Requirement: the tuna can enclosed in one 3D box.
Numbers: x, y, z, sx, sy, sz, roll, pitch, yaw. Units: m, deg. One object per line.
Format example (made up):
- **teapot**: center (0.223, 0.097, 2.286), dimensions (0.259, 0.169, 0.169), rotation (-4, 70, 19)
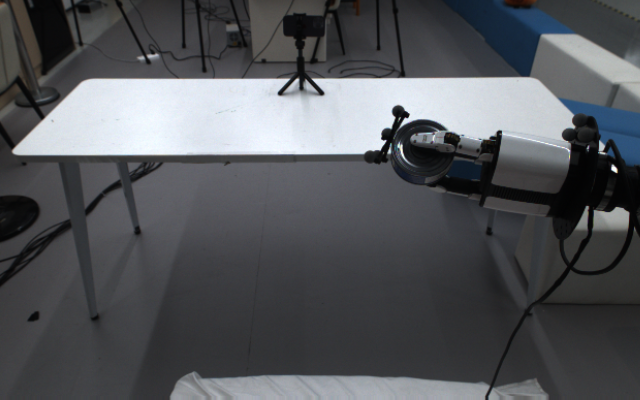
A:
- **tuna can**: center (0.141, -0.068, 0.659), dimensions (0.085, 0.034, 0.085), rotation (-2, 71, 5)
